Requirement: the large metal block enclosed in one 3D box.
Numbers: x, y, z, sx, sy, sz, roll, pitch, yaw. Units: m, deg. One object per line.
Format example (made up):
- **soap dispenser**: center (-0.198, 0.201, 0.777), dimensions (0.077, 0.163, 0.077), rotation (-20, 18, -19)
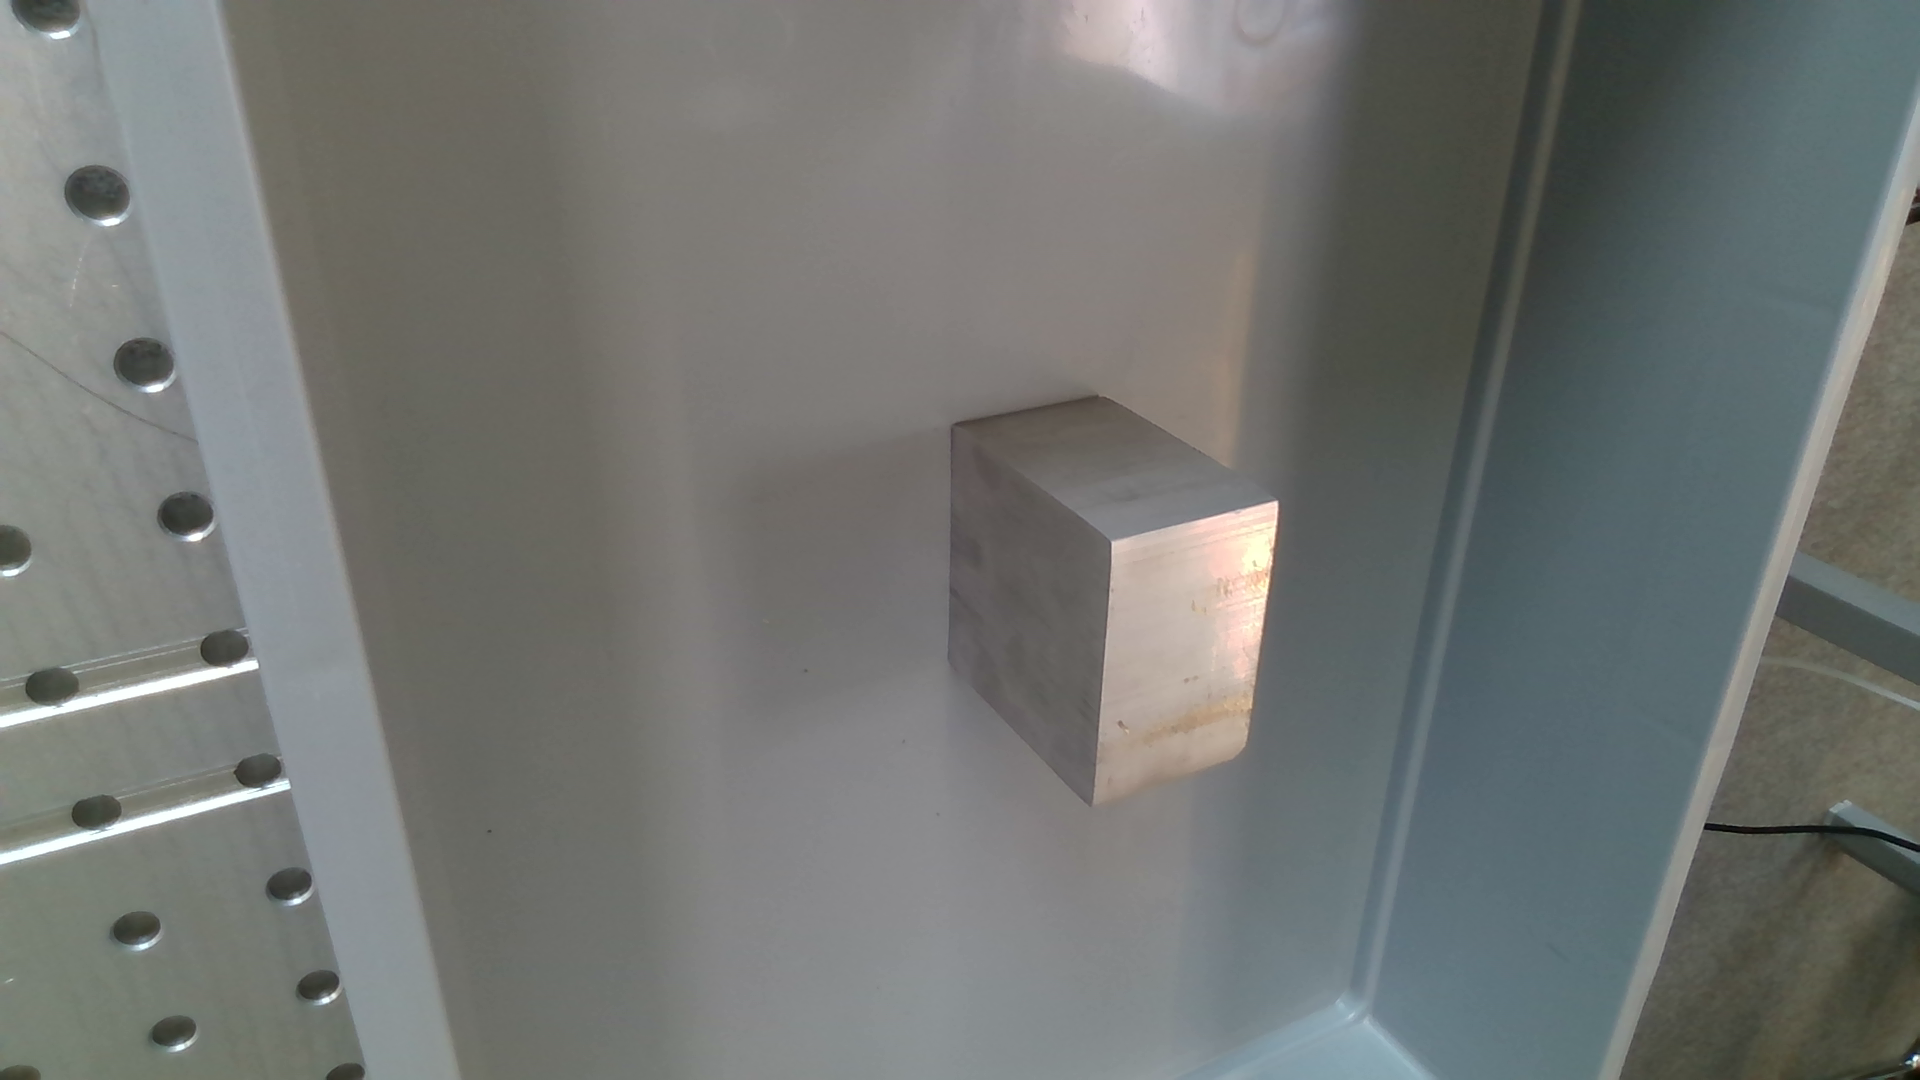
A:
- **large metal block**: center (0.038, 0.013, 0.382), dimensions (0.050, 0.080, 0.080), rotation (-13, 121, -25)
